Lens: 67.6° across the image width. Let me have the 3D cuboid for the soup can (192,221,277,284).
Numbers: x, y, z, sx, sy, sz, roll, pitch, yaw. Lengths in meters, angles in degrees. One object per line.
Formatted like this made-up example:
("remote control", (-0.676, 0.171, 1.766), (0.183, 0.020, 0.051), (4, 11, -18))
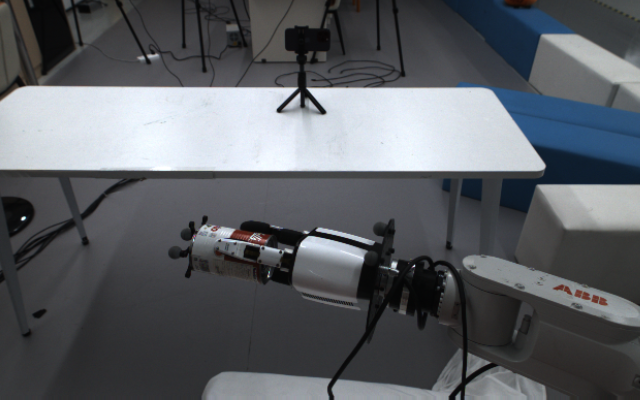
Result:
("soup can", (-0.114, 0.074, 0.654), (0.101, 0.067, 0.067), (8, 35, 11))
